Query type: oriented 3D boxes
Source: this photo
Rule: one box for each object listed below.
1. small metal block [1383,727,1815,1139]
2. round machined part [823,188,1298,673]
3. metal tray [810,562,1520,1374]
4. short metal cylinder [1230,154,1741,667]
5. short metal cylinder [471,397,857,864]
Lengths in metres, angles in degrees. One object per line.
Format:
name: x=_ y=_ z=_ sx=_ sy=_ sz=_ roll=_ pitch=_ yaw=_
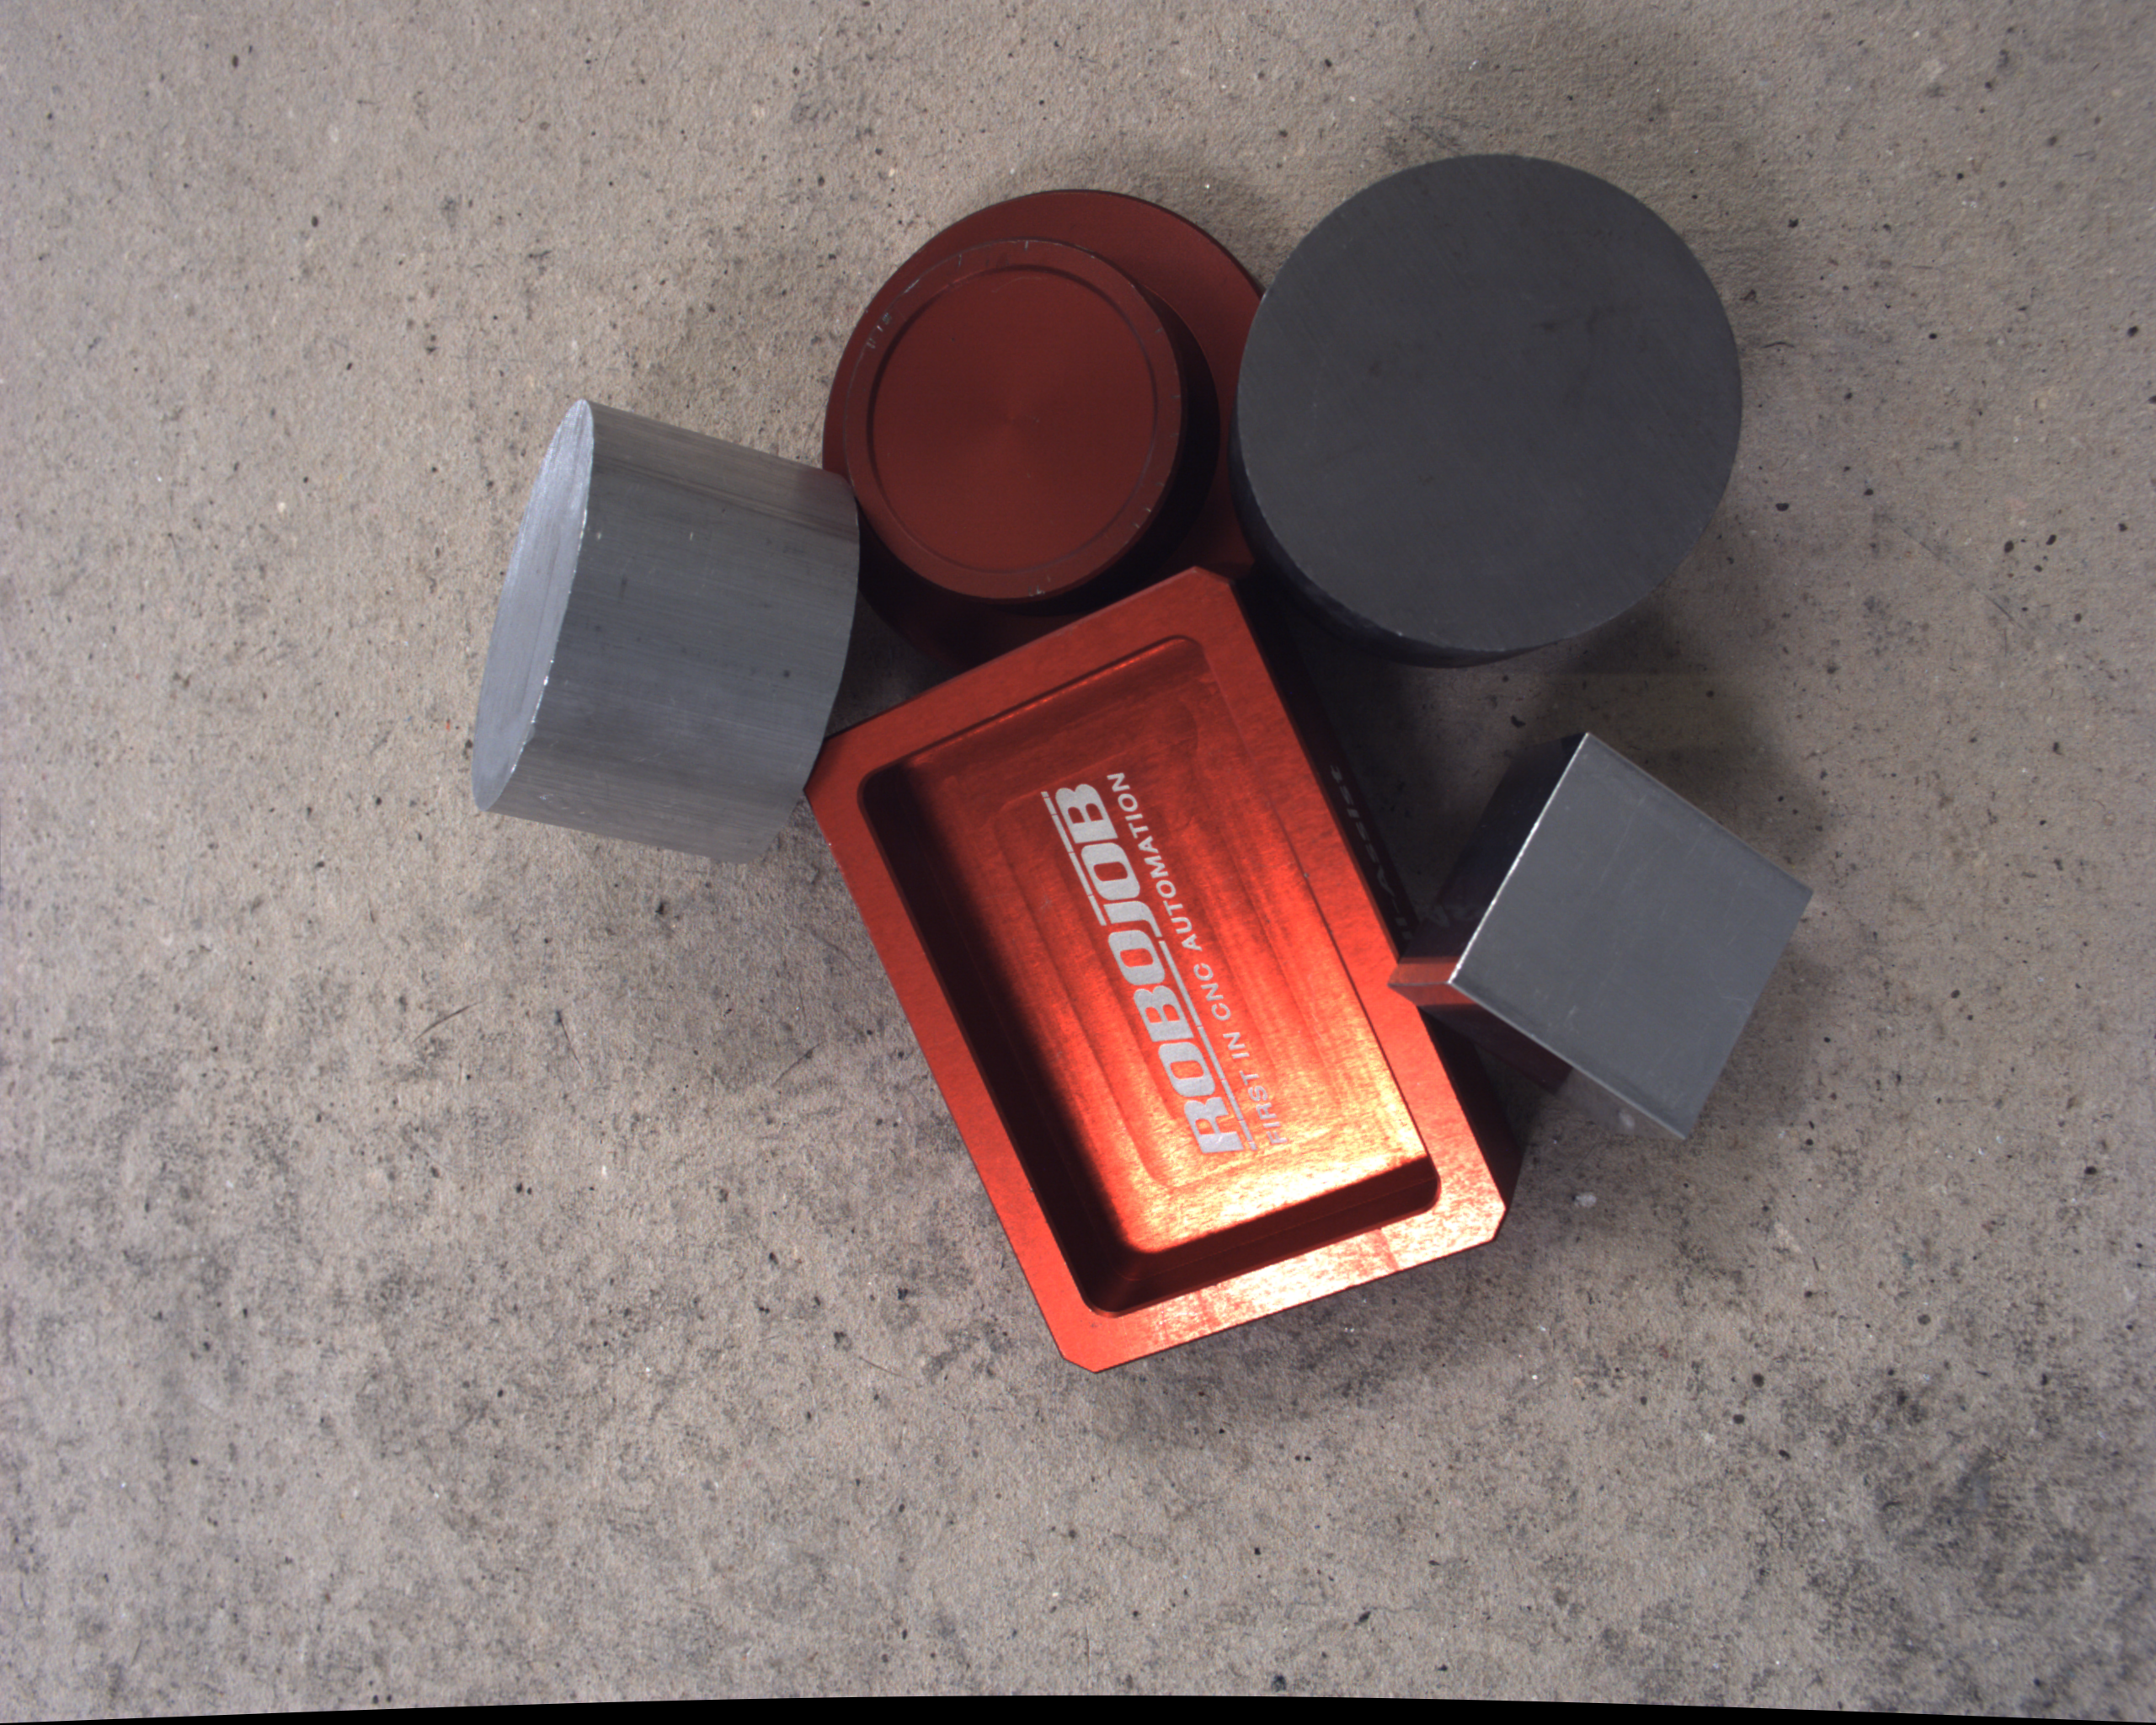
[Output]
small metal block: x=0.090 y=0.013 z=0.360 sx=0.050 sy=0.025 sz=0.050 roll=34 pitch=77 yaw=-10
round machined part: x=-0.006 y=-0.082 z=0.404 sx=0.098 sy=0.042 sz=0.097 roll=0 pitch=90 yaw=20
metal tray: x=0.015 y=0.020 z=0.390 sx=0.090 sy=0.030 sz=0.129 roll=-23 pitch=92 yaw=18
short metal cylinder: x=0.067 y=-0.075 z=0.362 sx=0.080 sy=0.050 sz=0.079 roll=0 pitch=92 yaw=2
short metal cylinder: x=-0.081 y=-0.044 z=0.403 sx=0.050 sy=0.080 sz=0.080 roll=13 pitch=96 yaw=-24
